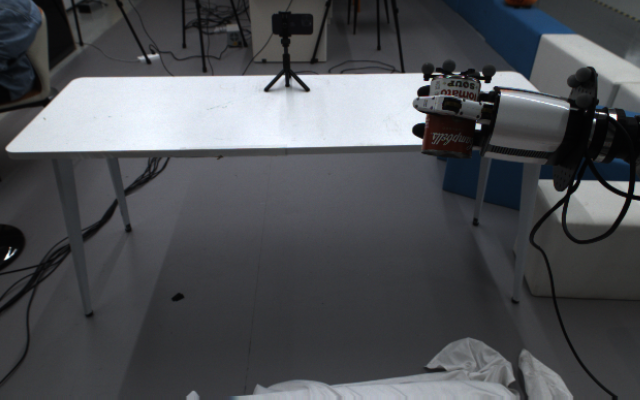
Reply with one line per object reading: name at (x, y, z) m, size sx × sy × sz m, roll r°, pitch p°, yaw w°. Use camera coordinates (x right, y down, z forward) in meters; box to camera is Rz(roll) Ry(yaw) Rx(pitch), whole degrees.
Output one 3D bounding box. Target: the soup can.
soup can at (0.179, -0.111, 0.655) m, size 0.067 × 0.101 × 0.067 m, roll 7°, pitch 3°, yaw 0°
